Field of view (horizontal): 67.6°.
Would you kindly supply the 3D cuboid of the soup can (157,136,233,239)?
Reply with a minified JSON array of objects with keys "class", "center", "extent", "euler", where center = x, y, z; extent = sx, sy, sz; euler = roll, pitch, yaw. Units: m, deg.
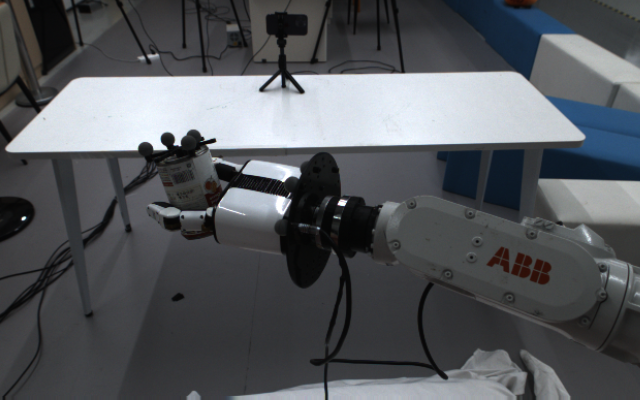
[{"class":"soup can","center":[-0.155,-0.009,0.602],"extent":[0.067,0.101,0.067],"euler":[-13,19,5]}]
